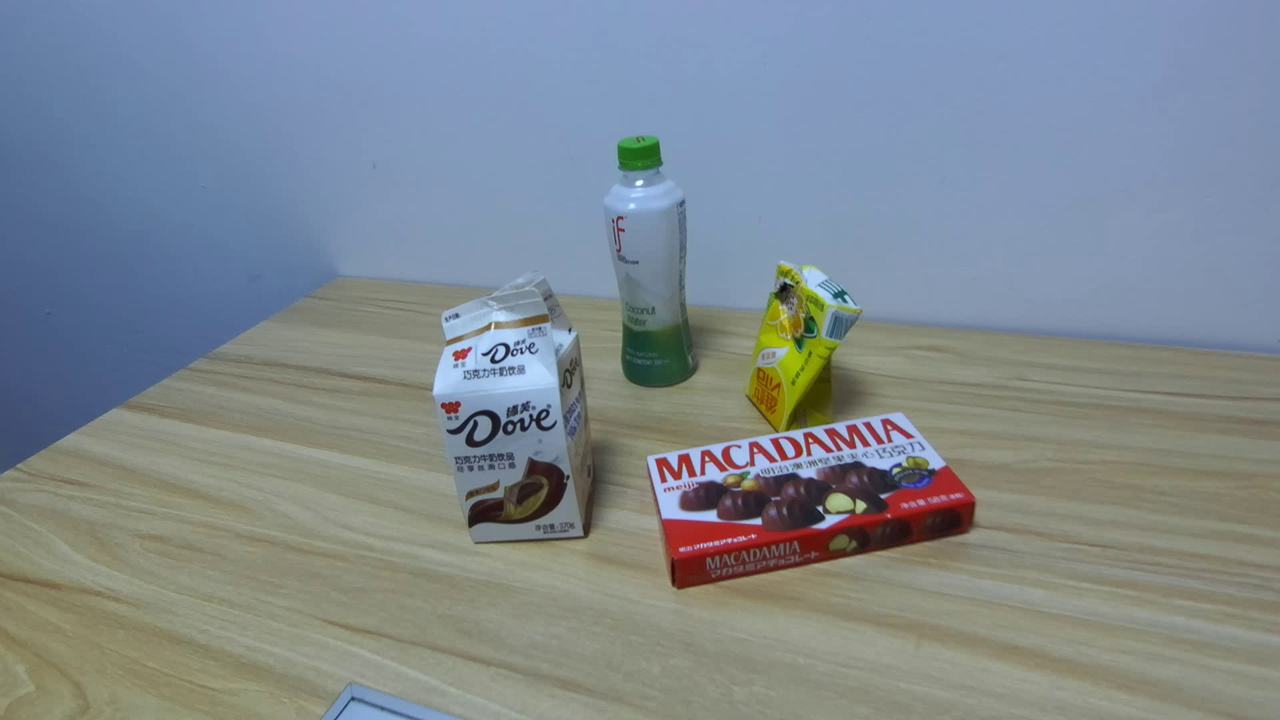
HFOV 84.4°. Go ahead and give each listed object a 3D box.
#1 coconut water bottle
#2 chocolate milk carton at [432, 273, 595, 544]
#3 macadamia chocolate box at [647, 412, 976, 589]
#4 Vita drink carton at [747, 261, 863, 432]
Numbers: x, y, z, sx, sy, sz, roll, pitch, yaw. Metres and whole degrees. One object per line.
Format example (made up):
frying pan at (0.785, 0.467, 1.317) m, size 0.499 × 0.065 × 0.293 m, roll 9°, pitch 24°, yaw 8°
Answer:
coconut water bottle at (0.008, -0.074, 0.549) m, size 0.063 × 0.189 × 0.063 m, roll -5°, pitch 28°, yaw 3°
chocolate milk carton at (-0.074, 0.027, 0.430) m, size 0.076 × 0.156 × 0.073 m, roll -4°, pitch 30°, yaw 4°
macadamia chocolate box at (0.098, 0.081, 0.433) m, size 0.178 × 0.027 × 0.095 m, roll -9°, pitch 30°, yaw -5°
Vita drink carton at (0.116, -0.008, 0.504) m, size 0.042 × 0.108 × 0.086 m, roll -1°, pitch 30°, yaw -20°
